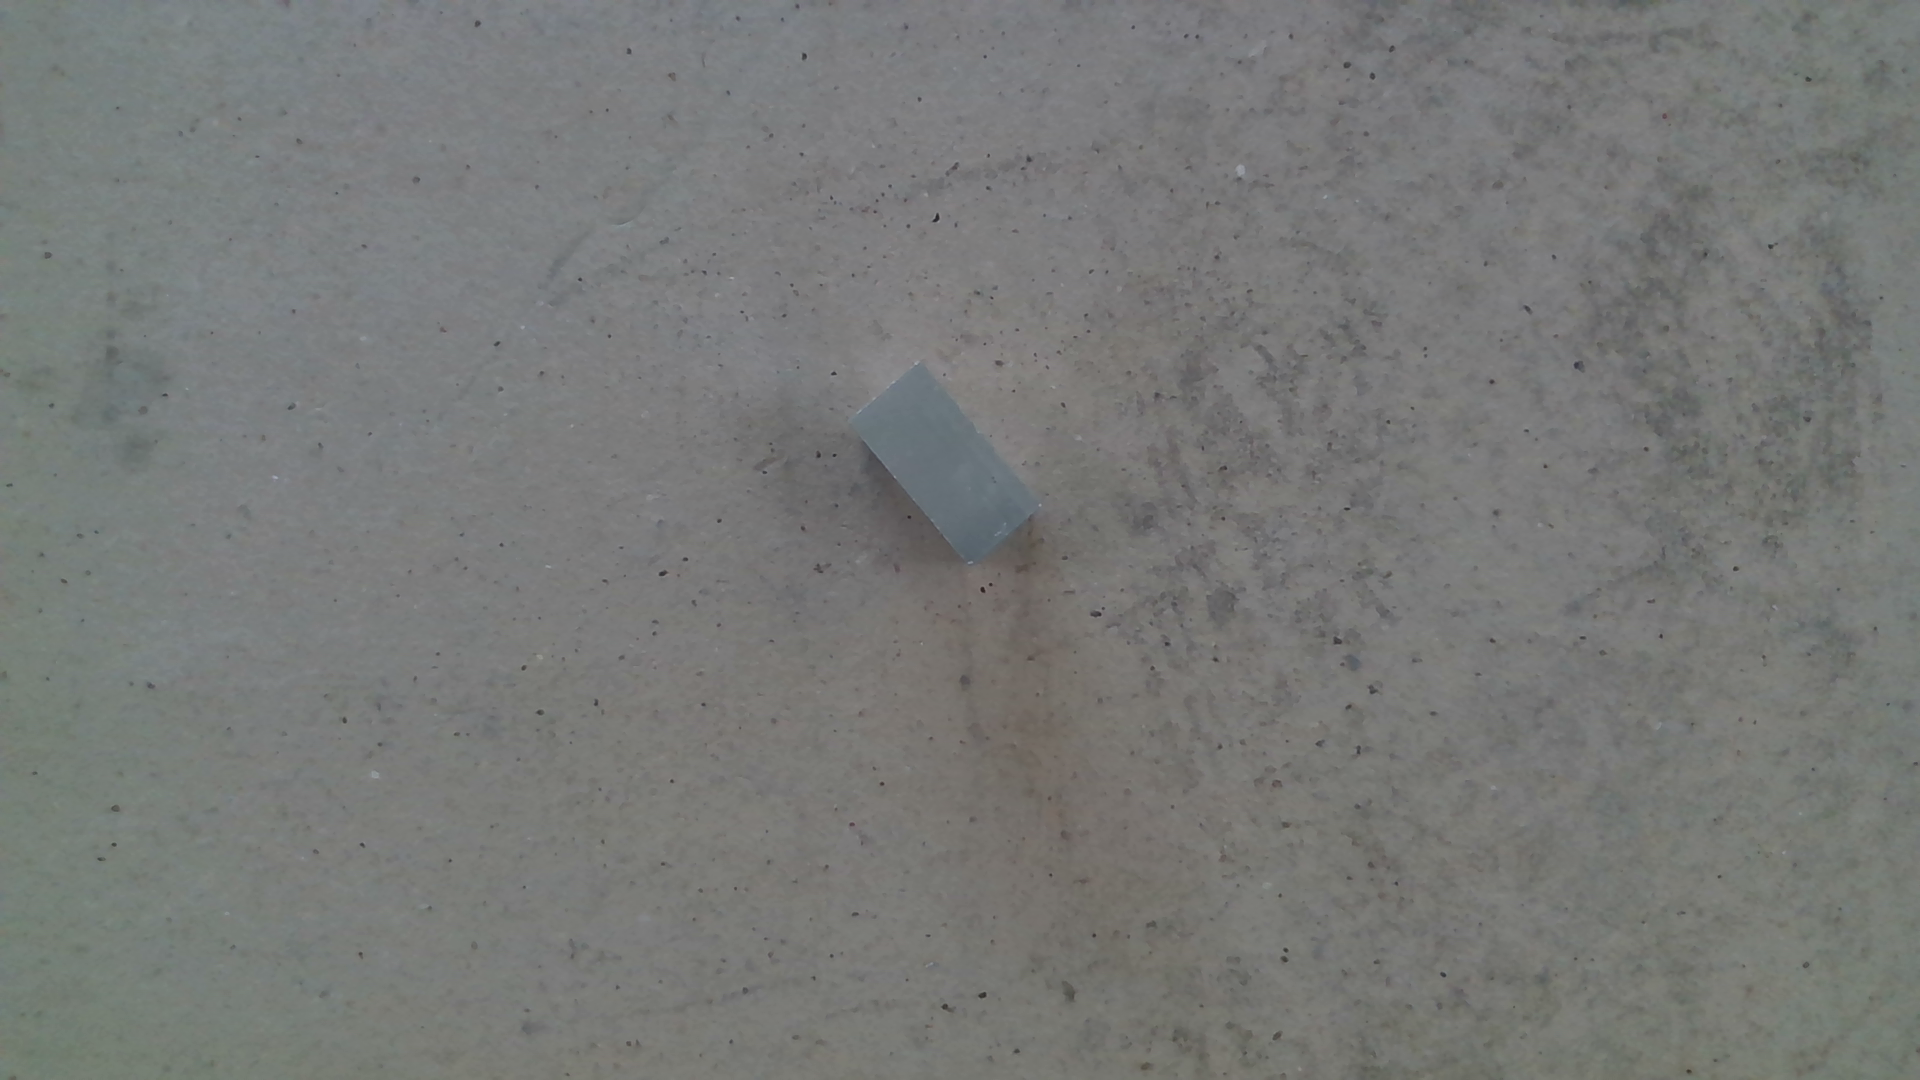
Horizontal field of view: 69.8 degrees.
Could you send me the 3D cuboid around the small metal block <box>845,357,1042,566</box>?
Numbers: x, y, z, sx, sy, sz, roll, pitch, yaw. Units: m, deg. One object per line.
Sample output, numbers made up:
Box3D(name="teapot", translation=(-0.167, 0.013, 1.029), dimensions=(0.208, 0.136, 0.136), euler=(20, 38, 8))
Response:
Box3D(name="small metal block", translation=(-0.004, -0.020, 0.383), dimensions=(0.025, 0.050, 0.050), euler=(-40, 90, 0))
